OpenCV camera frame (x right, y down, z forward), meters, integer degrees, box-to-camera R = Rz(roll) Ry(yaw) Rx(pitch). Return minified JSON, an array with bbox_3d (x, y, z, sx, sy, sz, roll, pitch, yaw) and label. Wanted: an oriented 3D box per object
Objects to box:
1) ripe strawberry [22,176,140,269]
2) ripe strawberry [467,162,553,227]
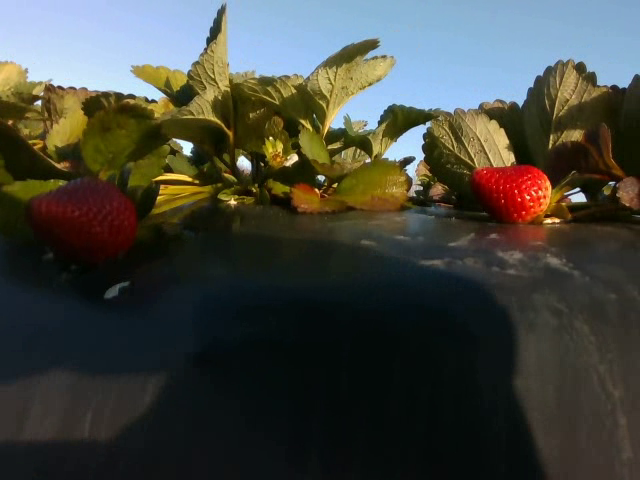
[{"bbox_3d":[-0.099,-0.011,0.244,0.045,0.042,0.055,19,-1,21],"label":"ripe strawberry"},{"bbox_3d":[0.087,-0.024,0.276,0.046,0.036,0.035,19,28,11],"label":"ripe strawberry"}]
